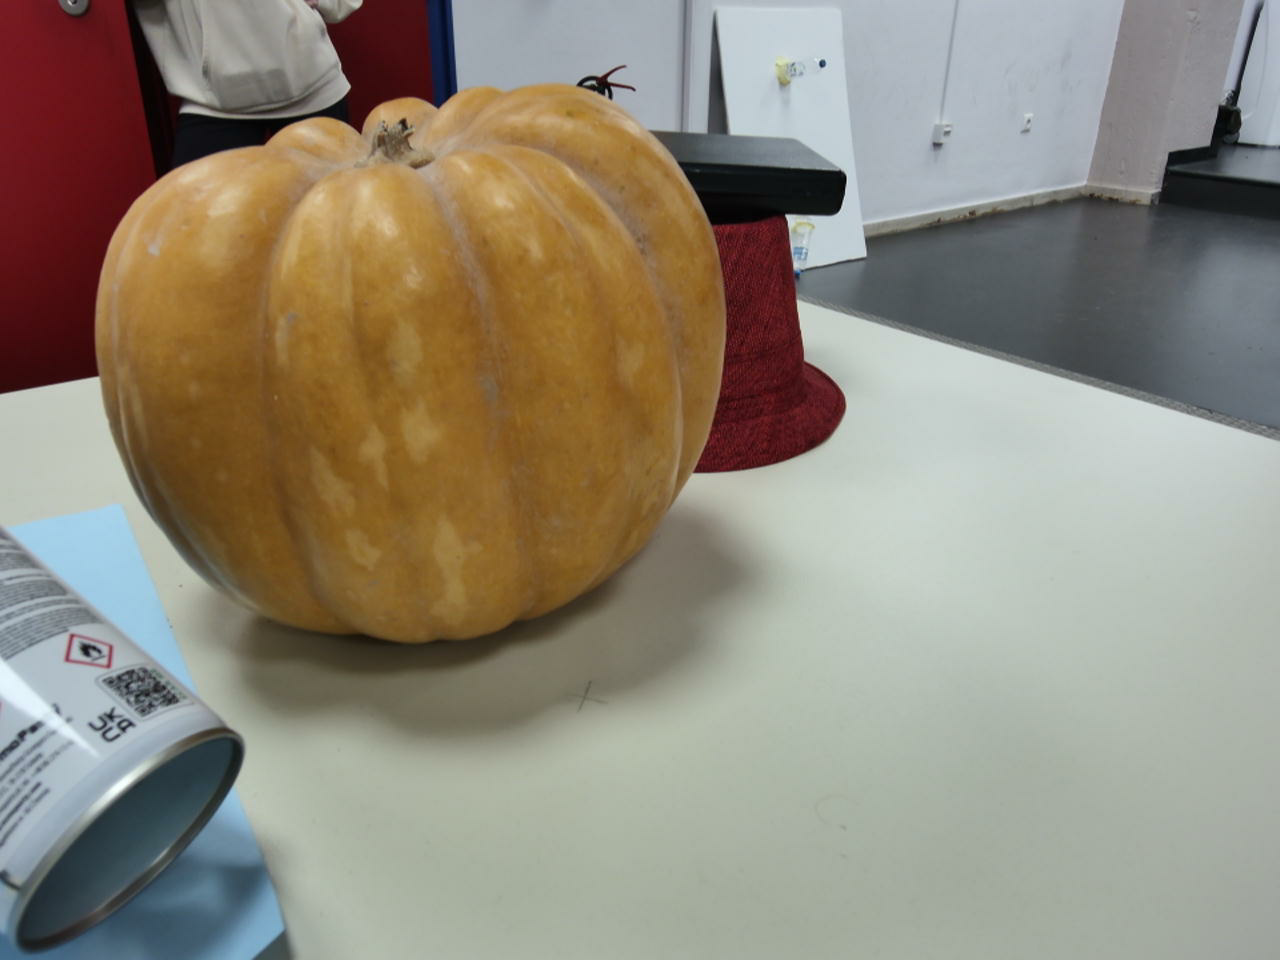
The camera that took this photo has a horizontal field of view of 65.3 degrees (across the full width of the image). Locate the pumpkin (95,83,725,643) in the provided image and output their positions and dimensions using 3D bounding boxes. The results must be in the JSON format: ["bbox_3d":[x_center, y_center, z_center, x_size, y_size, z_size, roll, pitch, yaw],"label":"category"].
[{"bbox_3d":[-0.078,-0.046,0.383,0.230,0.194,0.230,0,24,0],"label":"pumpkin"}]
